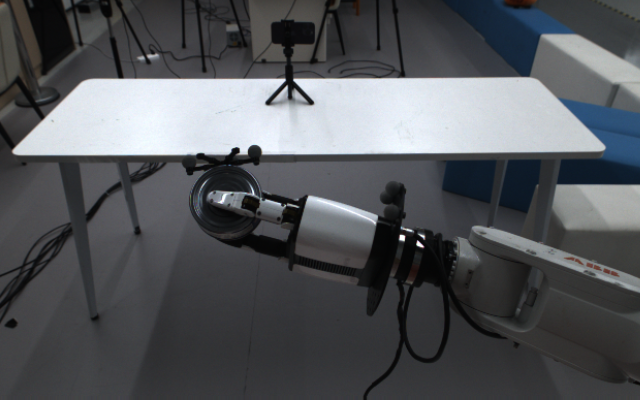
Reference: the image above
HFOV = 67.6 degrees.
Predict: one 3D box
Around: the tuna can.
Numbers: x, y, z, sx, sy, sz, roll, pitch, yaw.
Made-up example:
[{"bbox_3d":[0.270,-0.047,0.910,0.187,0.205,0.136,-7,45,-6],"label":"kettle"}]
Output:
[{"bbox_3d":[-0.105,0.008,0.568,0.085,0.034,0.085,0,72,-1],"label":"tuna can"}]
